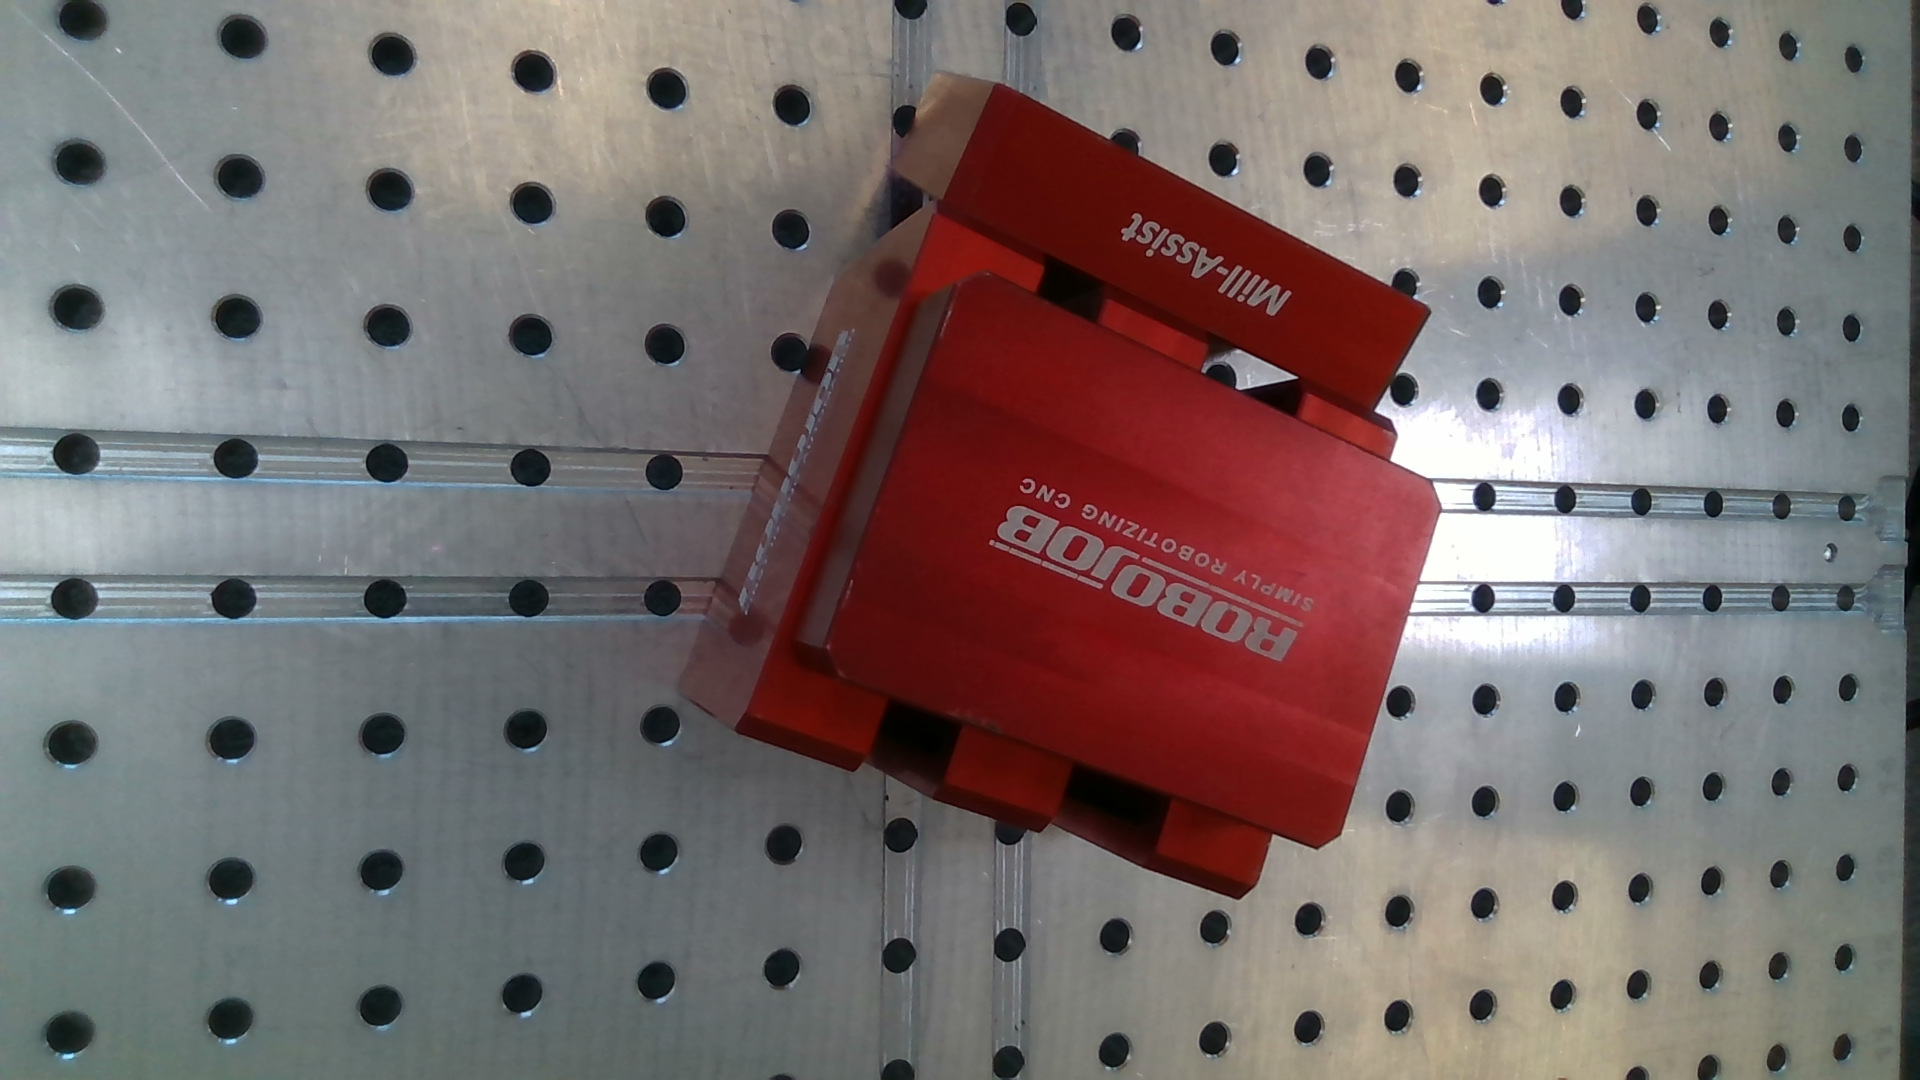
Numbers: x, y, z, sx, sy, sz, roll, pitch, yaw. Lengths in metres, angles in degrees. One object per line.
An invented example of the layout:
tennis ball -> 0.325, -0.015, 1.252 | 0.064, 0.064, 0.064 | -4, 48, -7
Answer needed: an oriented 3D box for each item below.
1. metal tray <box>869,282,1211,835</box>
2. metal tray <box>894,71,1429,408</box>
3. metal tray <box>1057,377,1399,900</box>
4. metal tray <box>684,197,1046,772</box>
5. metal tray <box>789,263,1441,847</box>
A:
metal tray -> 0.013, 0.003, 0.365 | 0.030, 0.090, 0.130 | 21, 84, -20
metal tray -> 0.051, -0.083, 0.377 | 0.130, 0.090, 0.030 | 22, 104, -19
metal tray -> 0.066, 0.025, 0.385 | 0.030, 0.090, 0.130 | 22, 82, -18
metal tray -> -0.028, -0.013, 0.351 | 0.030, 0.090, 0.130 | 22, 83, -18
metal tray -> 0.038, 0.006, 0.311 | 0.130, 0.030, 0.090 | 22, 82, -19
